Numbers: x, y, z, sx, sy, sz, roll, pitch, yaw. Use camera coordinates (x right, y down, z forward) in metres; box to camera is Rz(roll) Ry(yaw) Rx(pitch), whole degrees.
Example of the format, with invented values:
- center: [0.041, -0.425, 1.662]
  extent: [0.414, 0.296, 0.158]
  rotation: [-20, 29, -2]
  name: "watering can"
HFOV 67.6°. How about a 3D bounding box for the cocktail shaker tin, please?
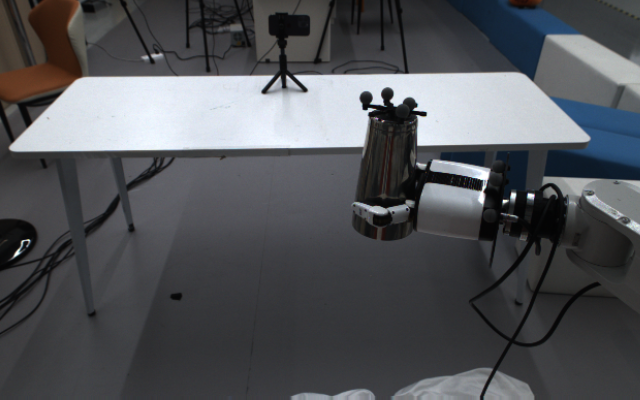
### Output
- center: [0.098, -0.038, 0.691]
  extent: [0.093, 0.170, 0.093]
  rotation: [1, 28, -1]
  name: "cocktail shaker tin"
